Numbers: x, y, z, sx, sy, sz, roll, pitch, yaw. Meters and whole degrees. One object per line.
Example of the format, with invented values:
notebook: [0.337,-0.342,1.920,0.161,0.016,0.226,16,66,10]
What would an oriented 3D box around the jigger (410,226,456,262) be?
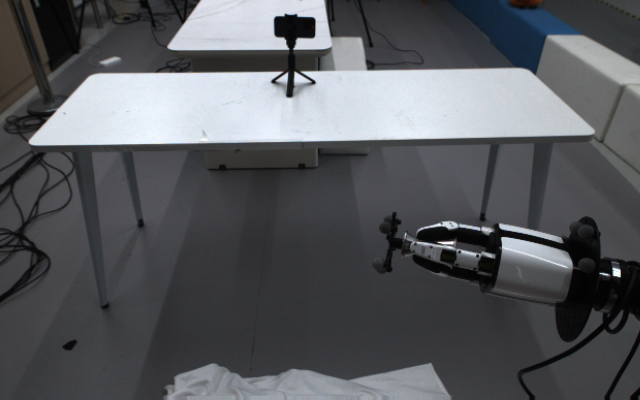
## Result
jigger: [0.154,0.062,0.656,0.071,0.043,0.043,8,35,16]
